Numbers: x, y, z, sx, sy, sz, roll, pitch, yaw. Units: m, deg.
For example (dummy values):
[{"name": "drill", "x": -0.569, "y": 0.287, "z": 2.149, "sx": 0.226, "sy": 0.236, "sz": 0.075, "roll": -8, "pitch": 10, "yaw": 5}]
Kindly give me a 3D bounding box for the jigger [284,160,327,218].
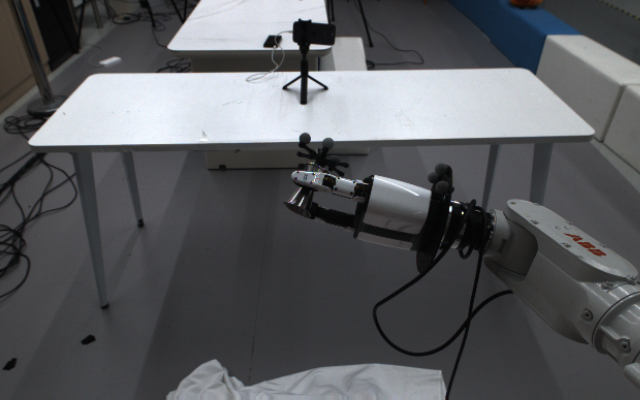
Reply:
[{"name": "jigger", "x": -0.019, "y": -0.018, "z": 0.692, "sx": 0.043, "sy": 0.043, "sz": 0.071, "roll": 20, "pitch": 73, "yaw": 24}]
